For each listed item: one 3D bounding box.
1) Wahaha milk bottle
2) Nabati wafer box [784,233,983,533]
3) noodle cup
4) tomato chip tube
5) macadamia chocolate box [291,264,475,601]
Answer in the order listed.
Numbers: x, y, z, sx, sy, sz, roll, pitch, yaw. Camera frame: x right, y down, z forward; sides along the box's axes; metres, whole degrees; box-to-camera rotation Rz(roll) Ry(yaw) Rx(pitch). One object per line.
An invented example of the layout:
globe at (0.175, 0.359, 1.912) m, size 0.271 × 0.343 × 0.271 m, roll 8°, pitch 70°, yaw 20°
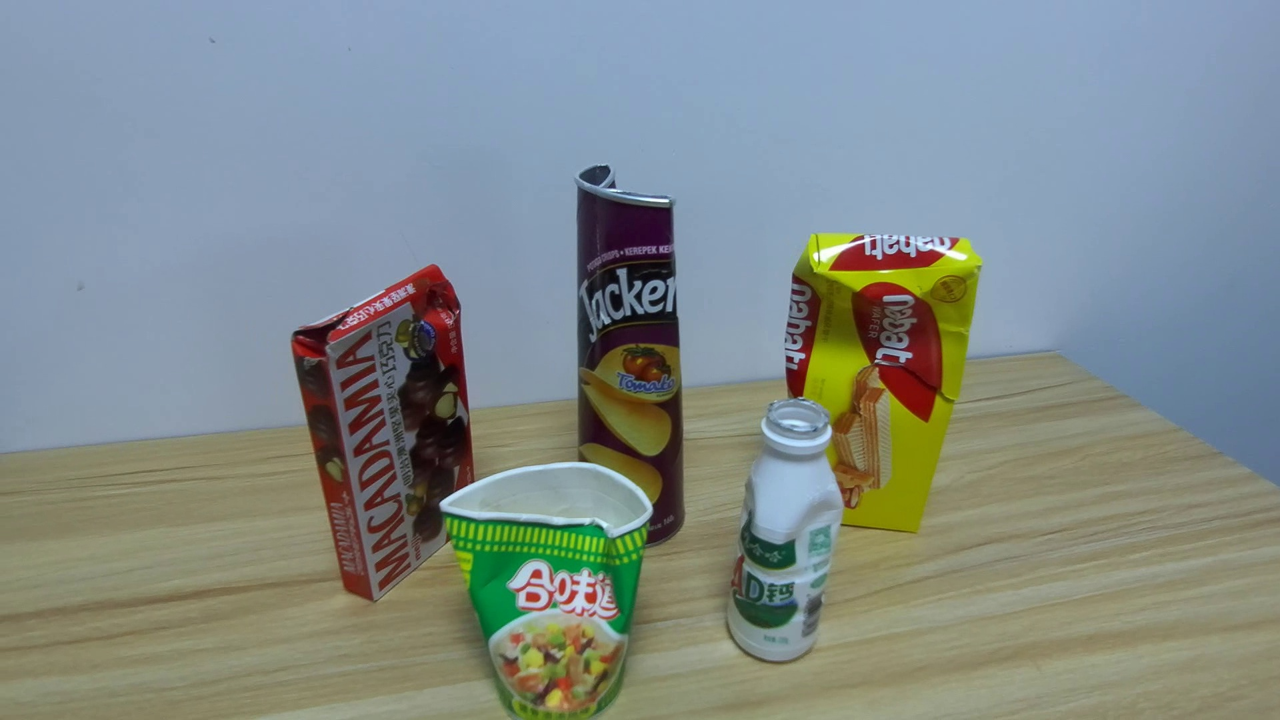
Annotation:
Wahaha milk bottle at (0.074, 0.091, 0.372) m, size 0.055 × 0.149 × 0.055 m, roll 0°, pitch 28°, yaw 1°
Nabati wafer box at (0.145, 0.018, 0.456) m, size 0.107 × 0.204 × 0.042 m, roll 5°, pitch 29°, yaw 9°
noodle cup at (-0.040, 0.120, 0.358) m, size 0.082 × 0.122 × 0.075 m, roll 11°, pitch 20°, yaw 38°
tomato chip tube at (-0.005, 0.004, 0.448) m, size 0.076 × 0.235 × 0.078 m, roll 9°, pitch 28°, yaw 17°
macadamia chocolate box at (-0.141, 0.044, 0.421) m, size 0.027 × 0.187 × 0.103 m, roll 17°, pitch 31°, yaw 24°
